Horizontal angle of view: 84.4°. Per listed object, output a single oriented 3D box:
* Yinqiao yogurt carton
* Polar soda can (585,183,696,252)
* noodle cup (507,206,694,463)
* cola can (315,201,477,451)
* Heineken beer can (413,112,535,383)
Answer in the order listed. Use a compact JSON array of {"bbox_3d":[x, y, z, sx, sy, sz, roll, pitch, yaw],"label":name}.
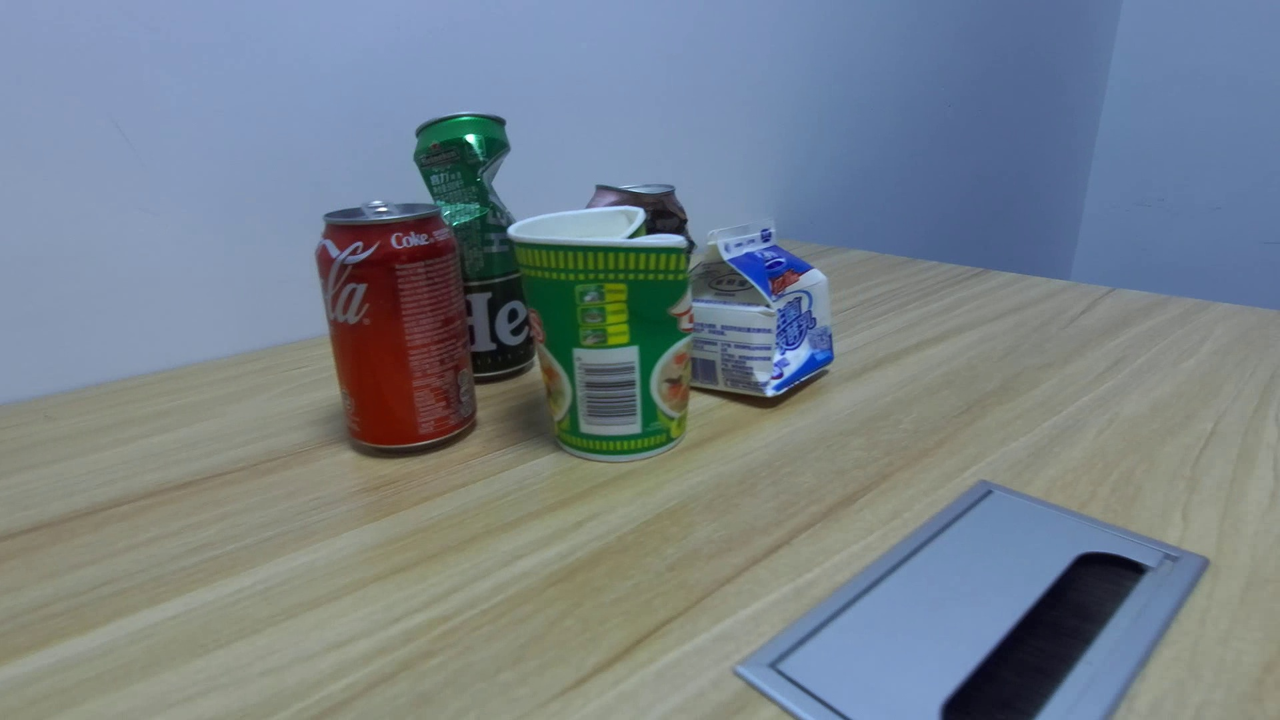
[{"bbox_3d":[0.063,-0.032,0.413,0.070,0.094,0.078,6,20,40],"label":"Yinqiao yogurt carton"},{"bbox_3d":[-0.011,-0.063,0.479,0.075,0.114,0.070,1,8,-45],"label":"Polar soda can"},{"bbox_3d":[-0.014,-0.014,0.349,0.087,0.109,0.094,1,20,9],"label":"noodle cup"},{"bbox_3d":[-0.121,-0.018,0.357,0.068,0.120,0.068,-2,20,1],"label":"cola can"},{"bbox_3d":[-0.102,-0.069,0.444,0.067,0.159,0.078,-16,21,-40],"label":"Heineken beer can"}]
